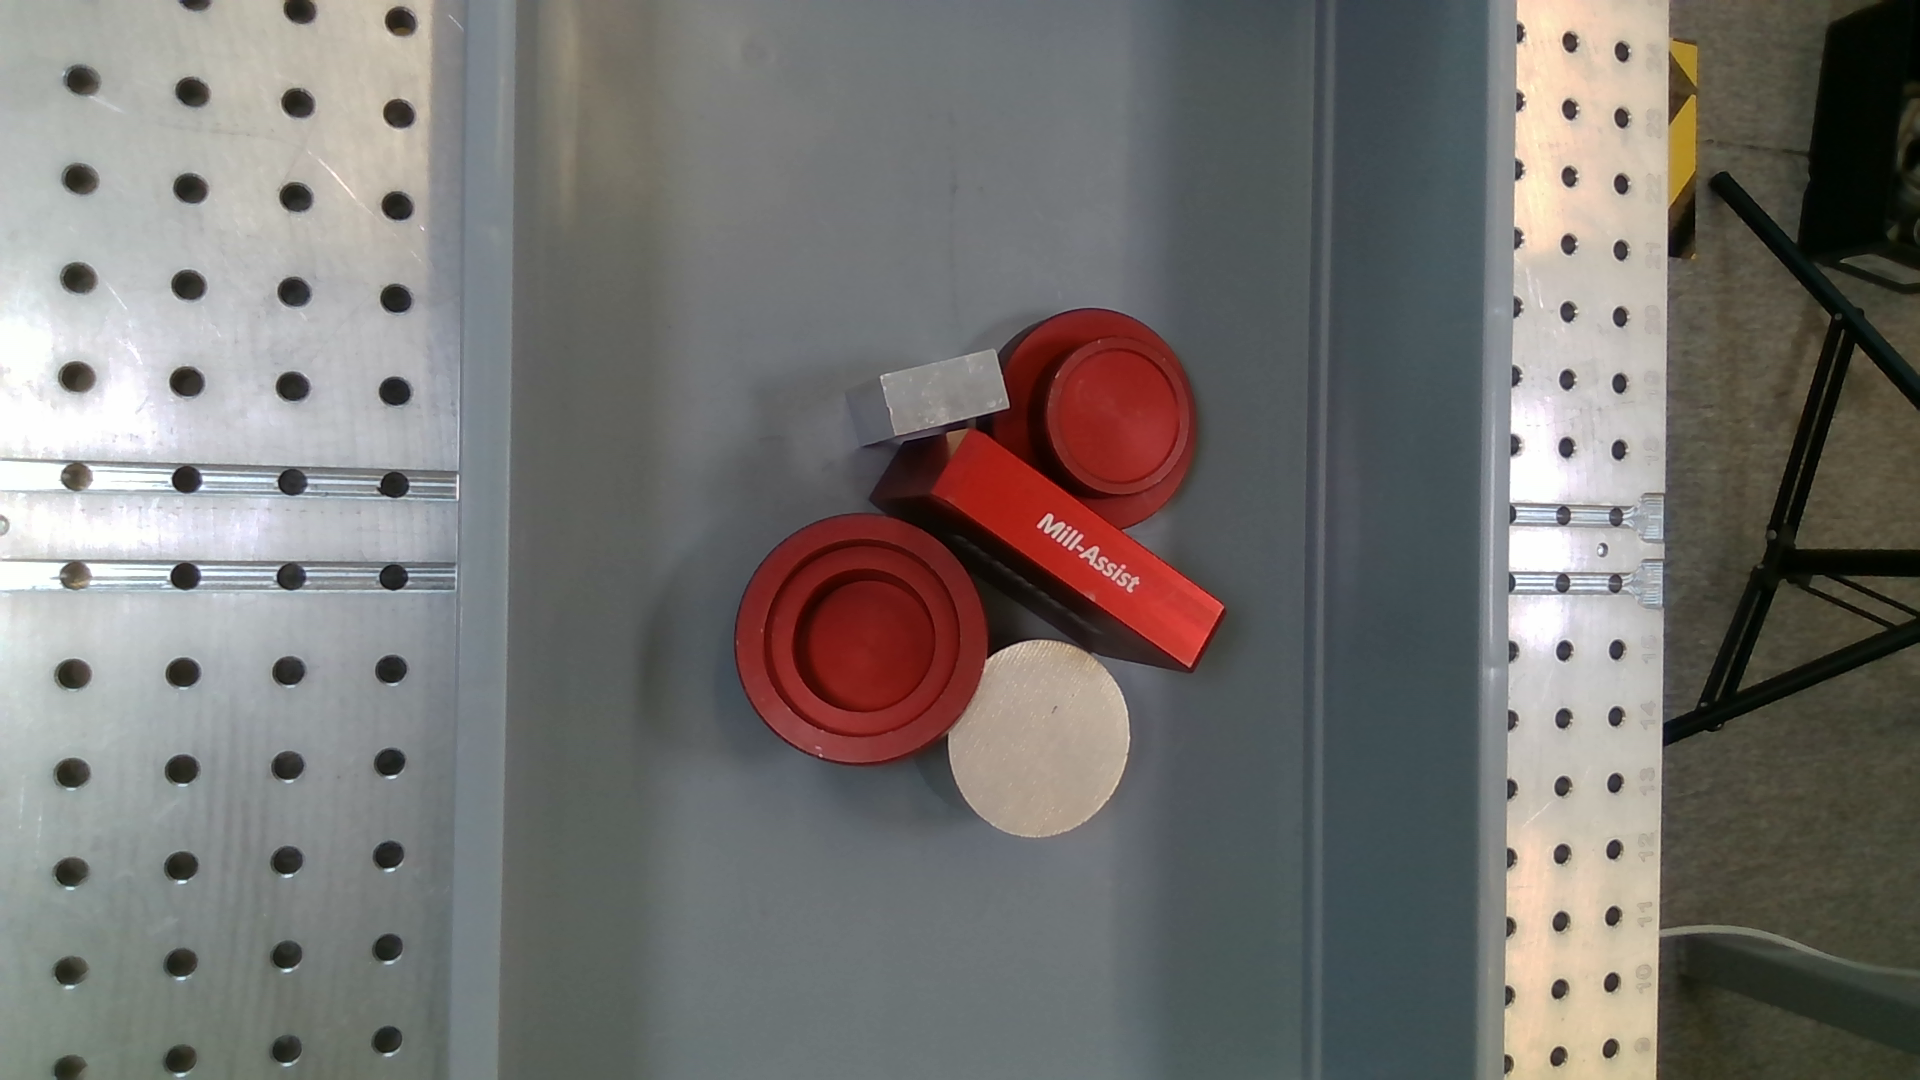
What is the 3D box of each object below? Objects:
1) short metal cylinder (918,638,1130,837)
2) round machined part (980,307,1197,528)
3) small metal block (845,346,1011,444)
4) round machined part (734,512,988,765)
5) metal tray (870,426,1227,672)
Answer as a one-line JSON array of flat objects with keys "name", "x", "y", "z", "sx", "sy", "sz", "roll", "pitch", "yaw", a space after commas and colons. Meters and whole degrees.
[{"name": "short metal cylinder", "x": 0.024, "y": 0.080, "z": 0.581, "sx": 0.080, "sy": 0.050, "sz": 0.080, "roll": 0, "pitch": 90, "yaw": -20}, {"name": "round machined part", "x": 0.060, "y": -0.052, "z": 0.597, "sx": 0.098, "sy": 0.042, "sz": 0.098, "roll": 0, "pitch": 90, "yaw": -20}, {"name": "small metal block", "x": -0.014, "y": -0.059, "z": 0.565, "sx": 0.050, "sy": 0.050, "sz": 0.025, "roll": -16, "pitch": 96, "yaw": -20}, {"name": "round machined part", "x": -0.038, "y": 0.041, "z": 0.550, "sx": 0.098, "sy": 0.042, "sz": 0.098, "roll": 0, "pitch": 80, "yaw": 1}, {"name": "metal tray", "x": 0.034, "y": 0.005, "z": 0.563, "sx": 0.130, "sy": 0.090, "sz": 0.030, "roll": 34, "pitch": 79, "yaw": -17}]
